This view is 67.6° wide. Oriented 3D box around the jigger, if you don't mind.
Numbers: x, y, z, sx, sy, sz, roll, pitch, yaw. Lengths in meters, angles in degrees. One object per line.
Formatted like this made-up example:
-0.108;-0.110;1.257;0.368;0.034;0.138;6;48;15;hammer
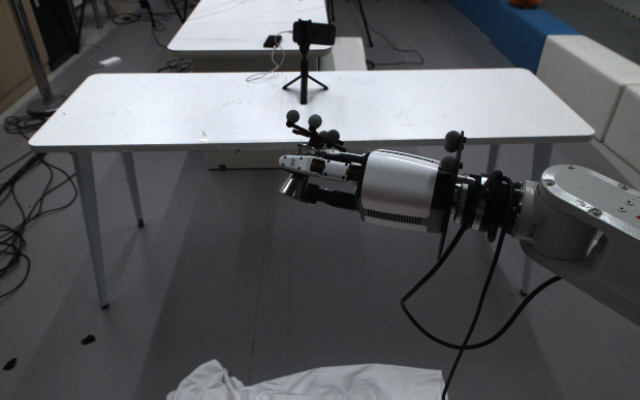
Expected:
-0.025;-0.036;0.622;0.043;0.071;0.043;24;-3;1;jigger
